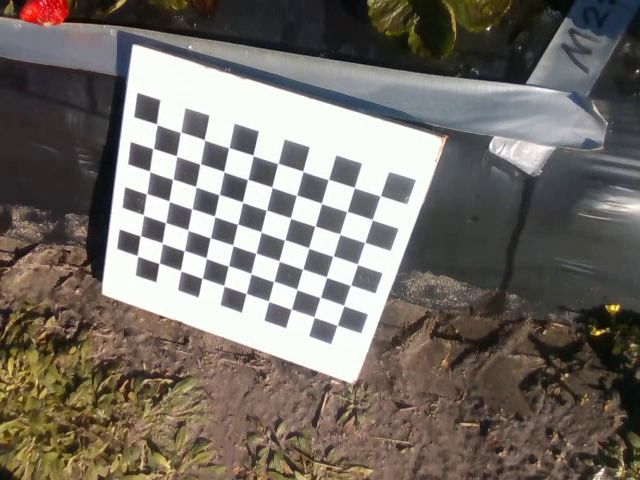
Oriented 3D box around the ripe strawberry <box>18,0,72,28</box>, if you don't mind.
[{"bbox_3d":[-0.206,-0.192,1.001,0.036,0.038,0.046,17,29,16],"label":"ripe strawberry"}]
